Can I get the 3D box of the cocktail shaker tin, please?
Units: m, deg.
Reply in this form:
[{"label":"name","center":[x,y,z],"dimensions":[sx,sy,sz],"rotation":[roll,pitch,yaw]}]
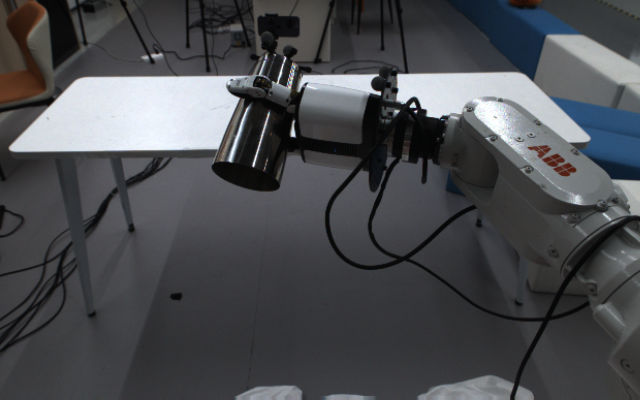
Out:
[{"label":"cocktail shaker tin","center":[-0.077,-0.107,0.651],"dimensions":[0.093,0.093,0.170],"rotation":[10,72,12]}]
